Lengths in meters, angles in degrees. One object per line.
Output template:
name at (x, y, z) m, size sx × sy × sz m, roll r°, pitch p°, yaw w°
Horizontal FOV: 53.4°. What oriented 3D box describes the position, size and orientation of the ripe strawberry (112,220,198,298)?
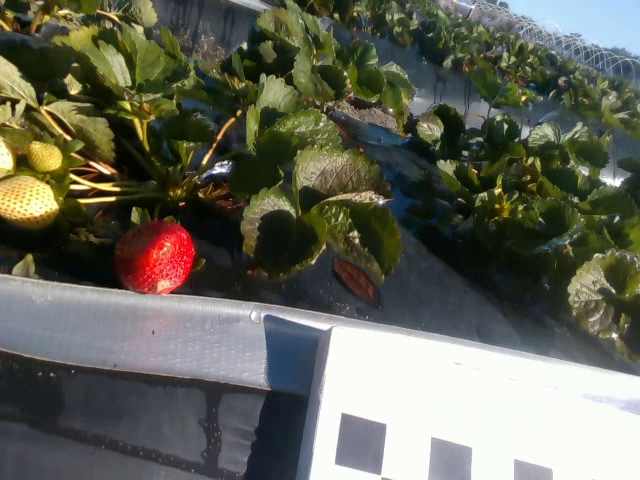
ripe strawberry at (-0.066, 0.006, 0.246) m, size 0.036 × 0.038 × 0.046 m, roll 14°, pitch -13°, yaw -11°
